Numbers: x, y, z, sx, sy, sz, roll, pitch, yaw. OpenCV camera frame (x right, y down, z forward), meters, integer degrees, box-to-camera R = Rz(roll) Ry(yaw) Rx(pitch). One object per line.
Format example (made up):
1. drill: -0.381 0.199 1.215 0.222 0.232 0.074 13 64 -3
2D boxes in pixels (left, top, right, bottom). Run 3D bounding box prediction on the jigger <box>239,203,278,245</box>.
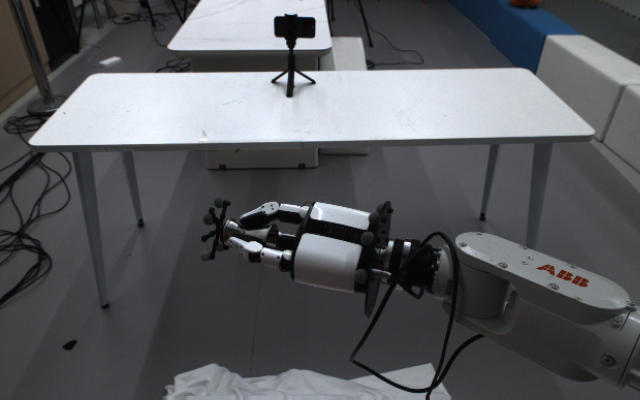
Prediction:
1. jigger: -0.093 0.048 0.692 0.071 0.043 0.043 8 35 17
